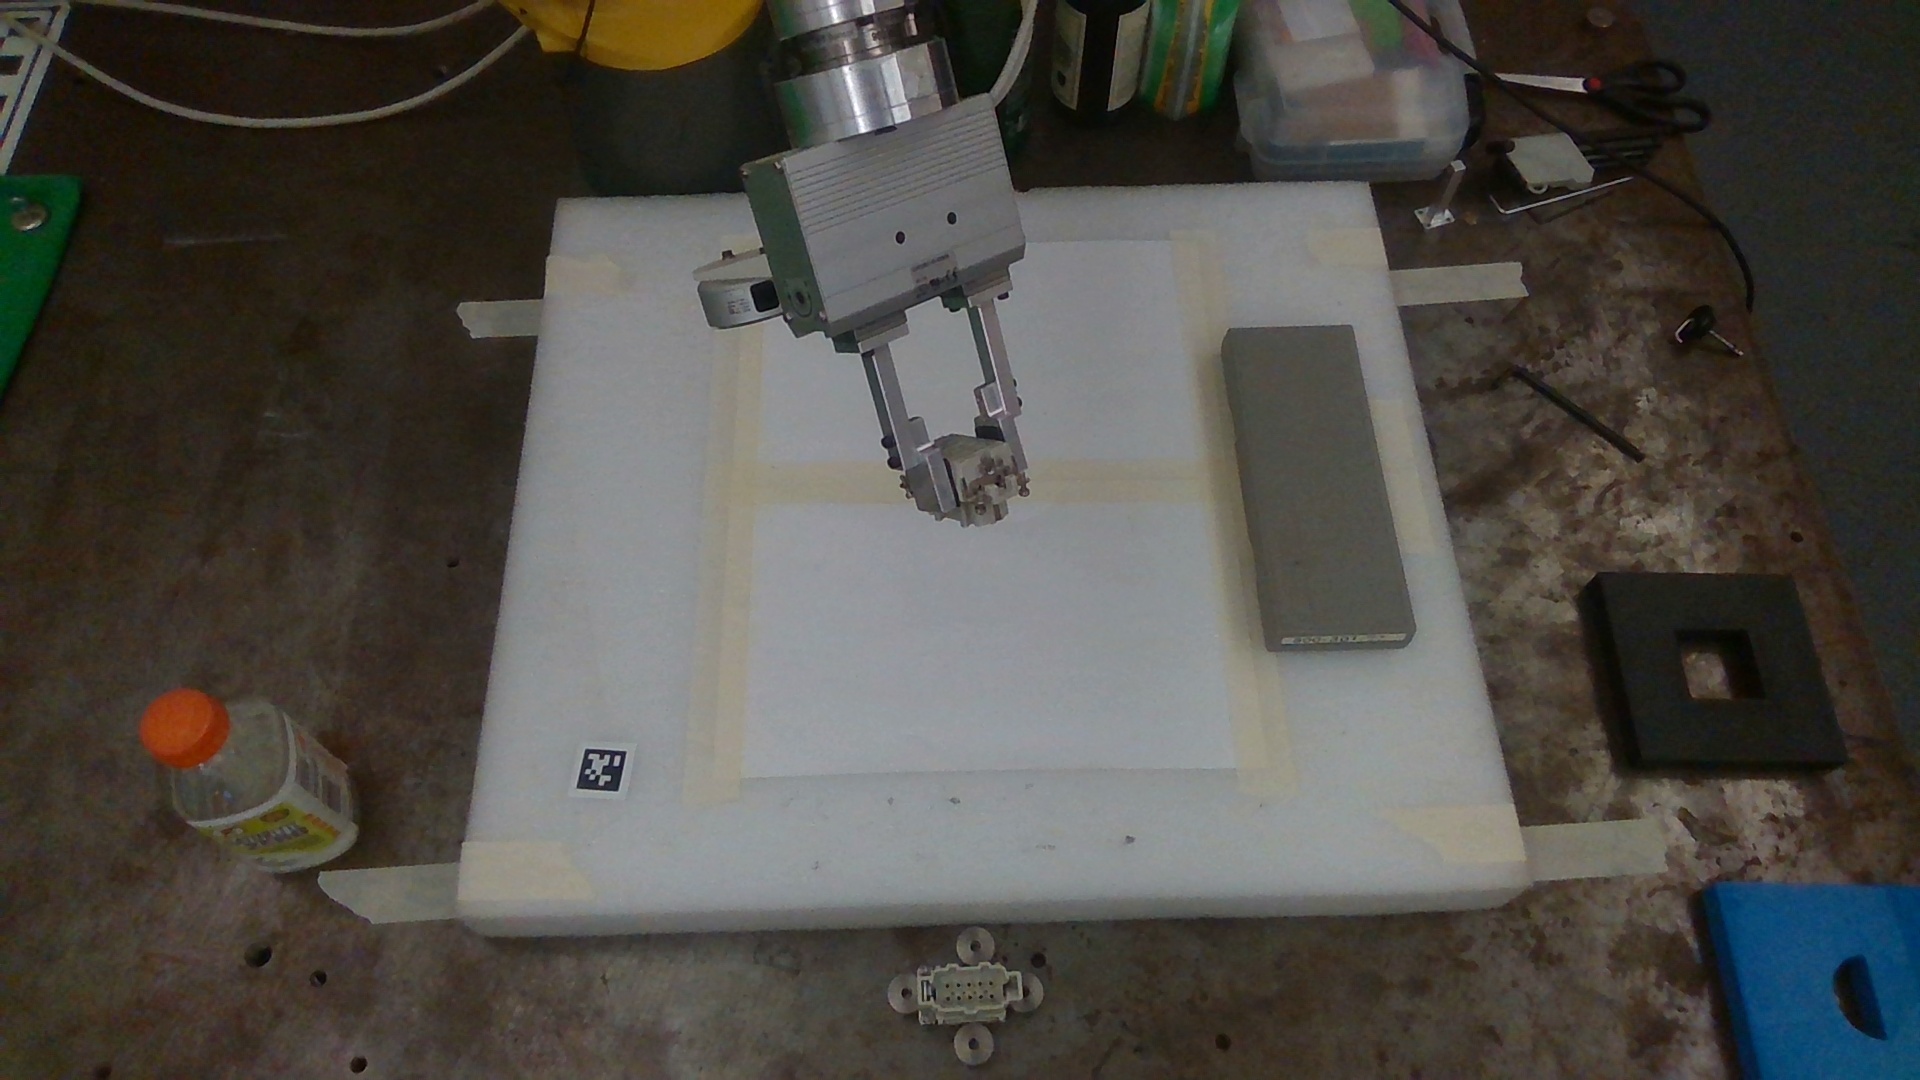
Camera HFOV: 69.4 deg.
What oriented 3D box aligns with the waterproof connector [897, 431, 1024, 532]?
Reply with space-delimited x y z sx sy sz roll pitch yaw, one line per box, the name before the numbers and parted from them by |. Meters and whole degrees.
waterproof connector | 0.000 -0.029 0.689 0.036 0.038 0.069 -27 25 -29
